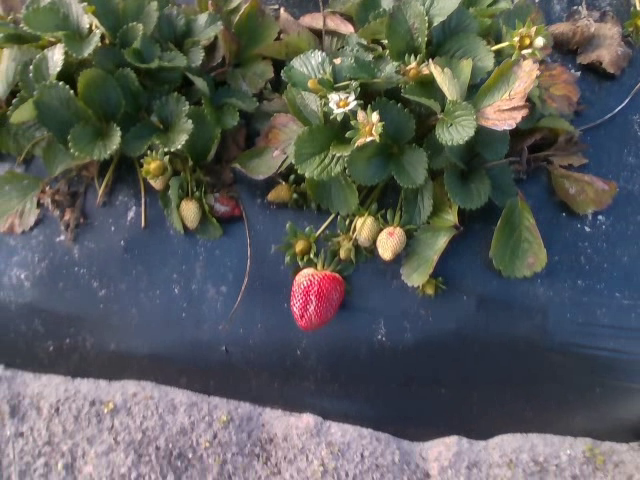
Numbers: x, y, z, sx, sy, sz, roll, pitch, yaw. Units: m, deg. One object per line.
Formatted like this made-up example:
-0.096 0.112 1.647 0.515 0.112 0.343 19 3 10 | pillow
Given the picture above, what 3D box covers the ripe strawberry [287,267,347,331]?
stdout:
-0.006 0.062 0.683 0.052 0.068 0.045 9 -26 2 | ripe strawberry
